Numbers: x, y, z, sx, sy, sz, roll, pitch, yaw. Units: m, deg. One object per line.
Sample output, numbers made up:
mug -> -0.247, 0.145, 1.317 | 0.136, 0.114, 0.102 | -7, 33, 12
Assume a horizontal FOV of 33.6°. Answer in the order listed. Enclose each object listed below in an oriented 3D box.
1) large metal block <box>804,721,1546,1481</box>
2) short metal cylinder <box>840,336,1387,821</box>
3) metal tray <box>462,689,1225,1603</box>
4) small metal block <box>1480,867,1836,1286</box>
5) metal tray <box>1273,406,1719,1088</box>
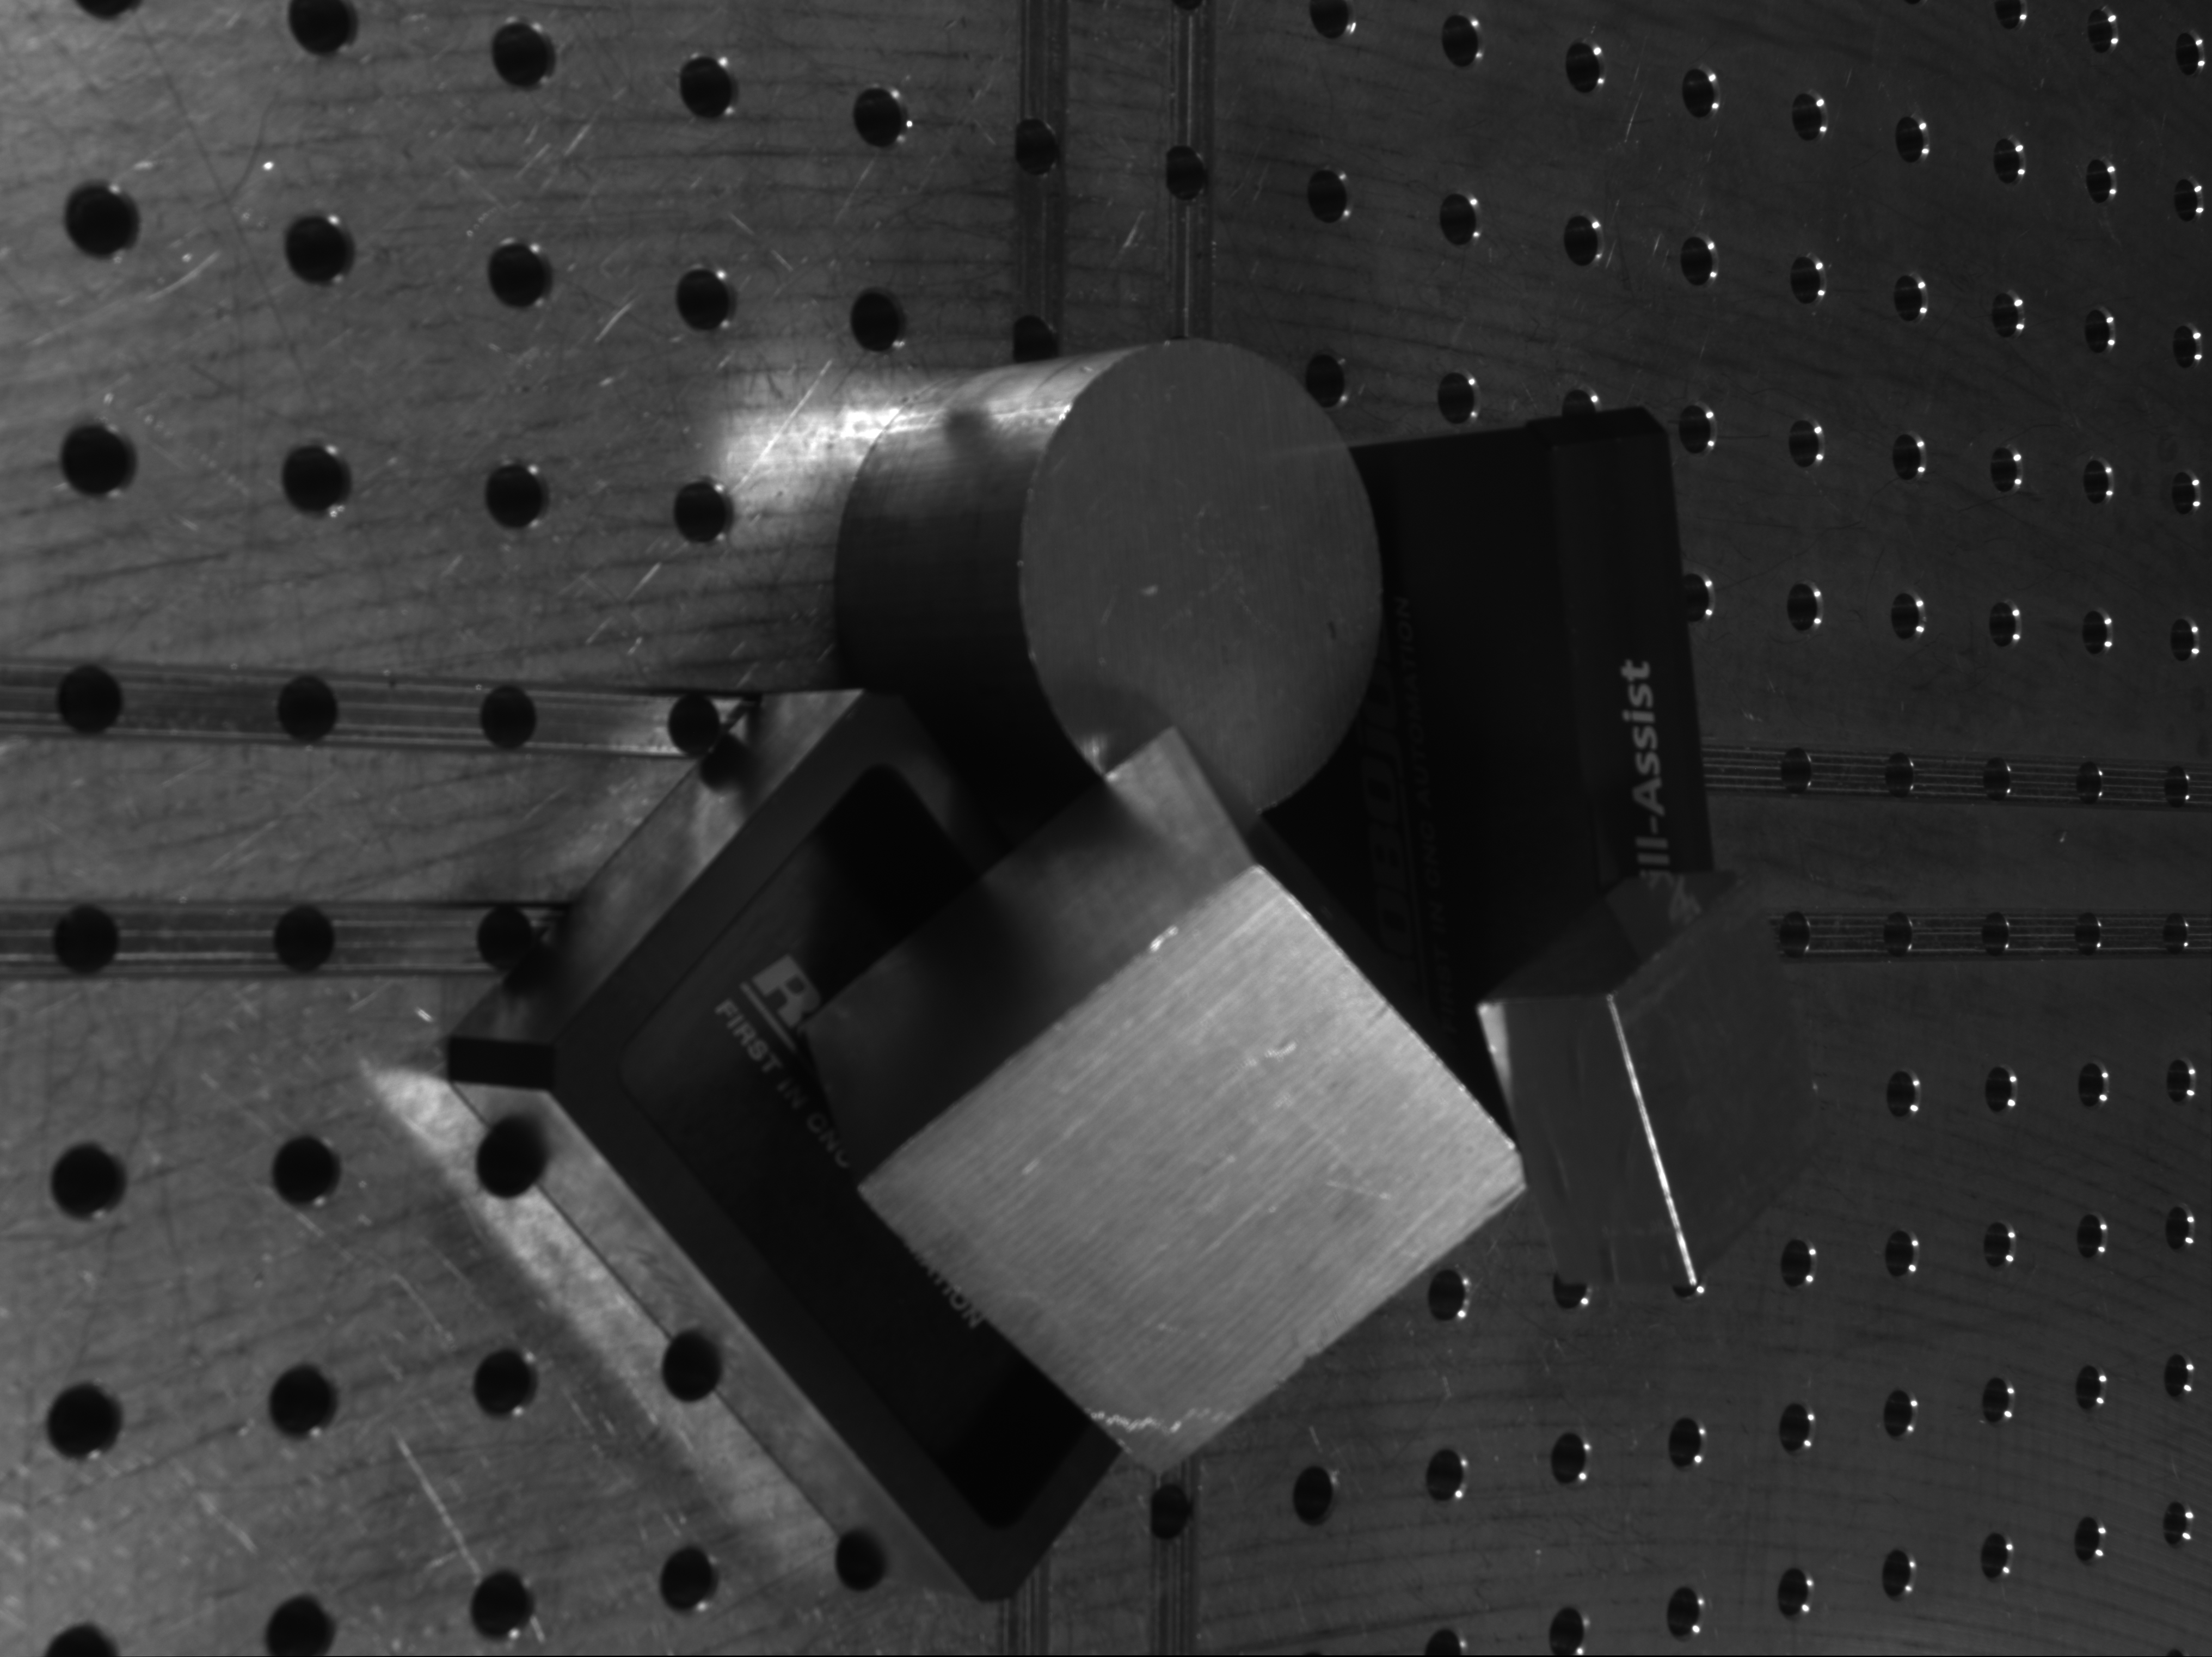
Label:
large metal block -> 0.011, 0.044, 0.593 | 0.080, 0.050, 0.080 | -39, 120, 6
short metal cylinder -> 0.002, -0.041, 0.625 | 0.080, 0.050, 0.080 | 0, 90, -40
metal tray -> -0.034, 0.053, 0.607 | 0.090, 0.030, 0.130 | -50, 120, -28
small metal block -> 0.090, 0.040, 0.593 | 0.050, 0.025, 0.050 | -34, 112, -46
metal tray -> 0.064, -0.005, 0.651 | 0.030, 0.090, 0.130 | -12, 97, -39
